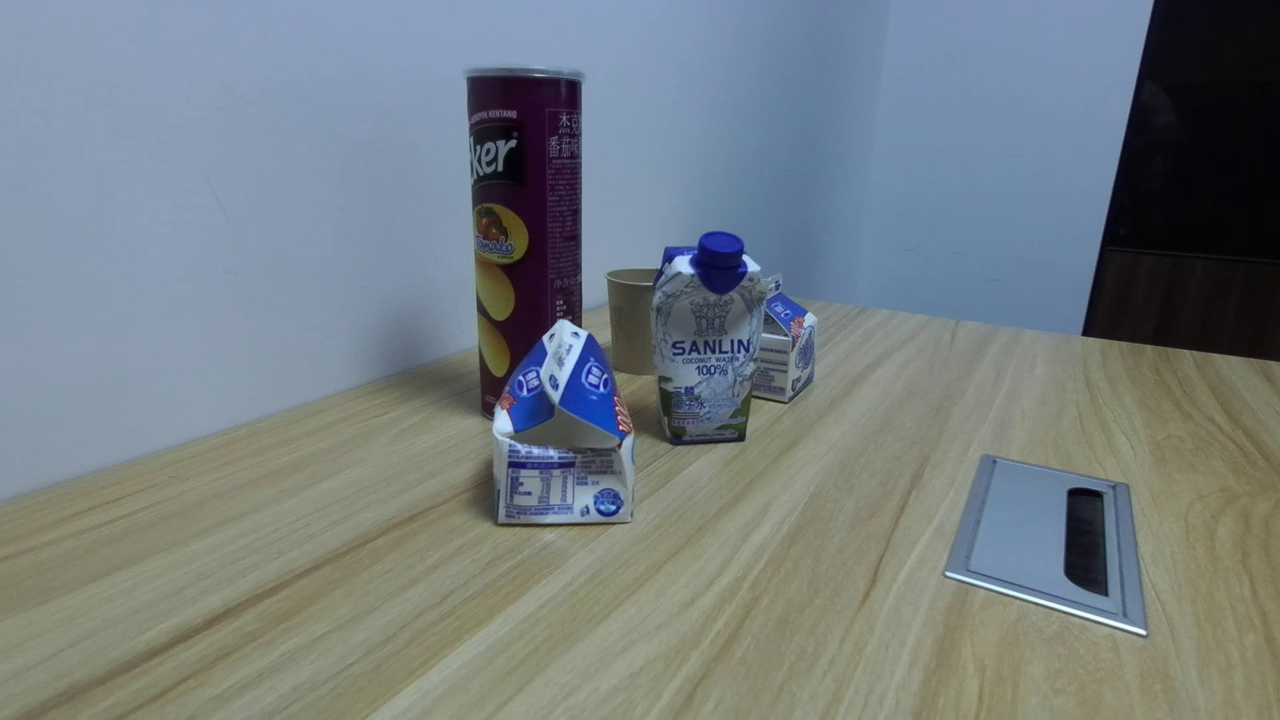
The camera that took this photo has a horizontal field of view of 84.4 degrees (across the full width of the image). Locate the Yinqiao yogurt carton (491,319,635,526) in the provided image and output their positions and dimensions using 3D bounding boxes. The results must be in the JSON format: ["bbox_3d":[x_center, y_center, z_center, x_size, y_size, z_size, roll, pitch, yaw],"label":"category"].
[{"bbox_3d":[-0.042,0.030,0.395,0.077,0.093,0.083,0,19,-5],"label":"Yinqiao yogurt carton"}]

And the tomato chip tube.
[{"bbox_3d":[-0.077,-0.075,0.498,0.078,0.234,0.078,1,16,0],"label":"tomato chip tube"}]

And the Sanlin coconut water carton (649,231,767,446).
[{"bbox_3d":[0.044,-0.016,0.472,0.078,0.142,0.057,-2,23,-11],"label":"Sanlin coconut water carton"}]
